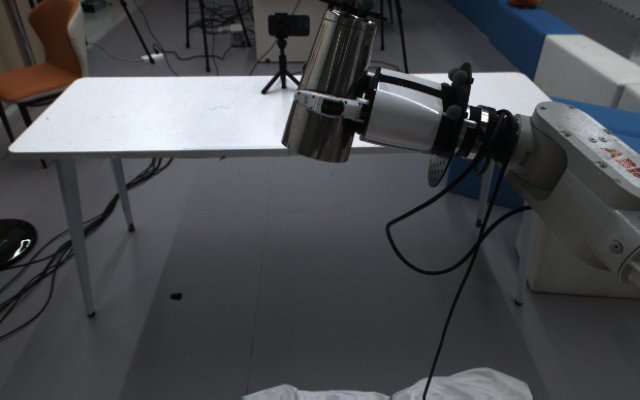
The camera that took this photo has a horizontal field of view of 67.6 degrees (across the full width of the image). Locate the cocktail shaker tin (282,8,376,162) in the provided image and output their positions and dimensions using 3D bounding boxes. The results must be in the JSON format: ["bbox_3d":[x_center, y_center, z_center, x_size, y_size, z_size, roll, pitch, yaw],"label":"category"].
[{"bbox_3d":[0.016,-0.144,0.609,0.093,0.170,0.093,15,20,-5],"label":"cocktail shaker tin"}]
